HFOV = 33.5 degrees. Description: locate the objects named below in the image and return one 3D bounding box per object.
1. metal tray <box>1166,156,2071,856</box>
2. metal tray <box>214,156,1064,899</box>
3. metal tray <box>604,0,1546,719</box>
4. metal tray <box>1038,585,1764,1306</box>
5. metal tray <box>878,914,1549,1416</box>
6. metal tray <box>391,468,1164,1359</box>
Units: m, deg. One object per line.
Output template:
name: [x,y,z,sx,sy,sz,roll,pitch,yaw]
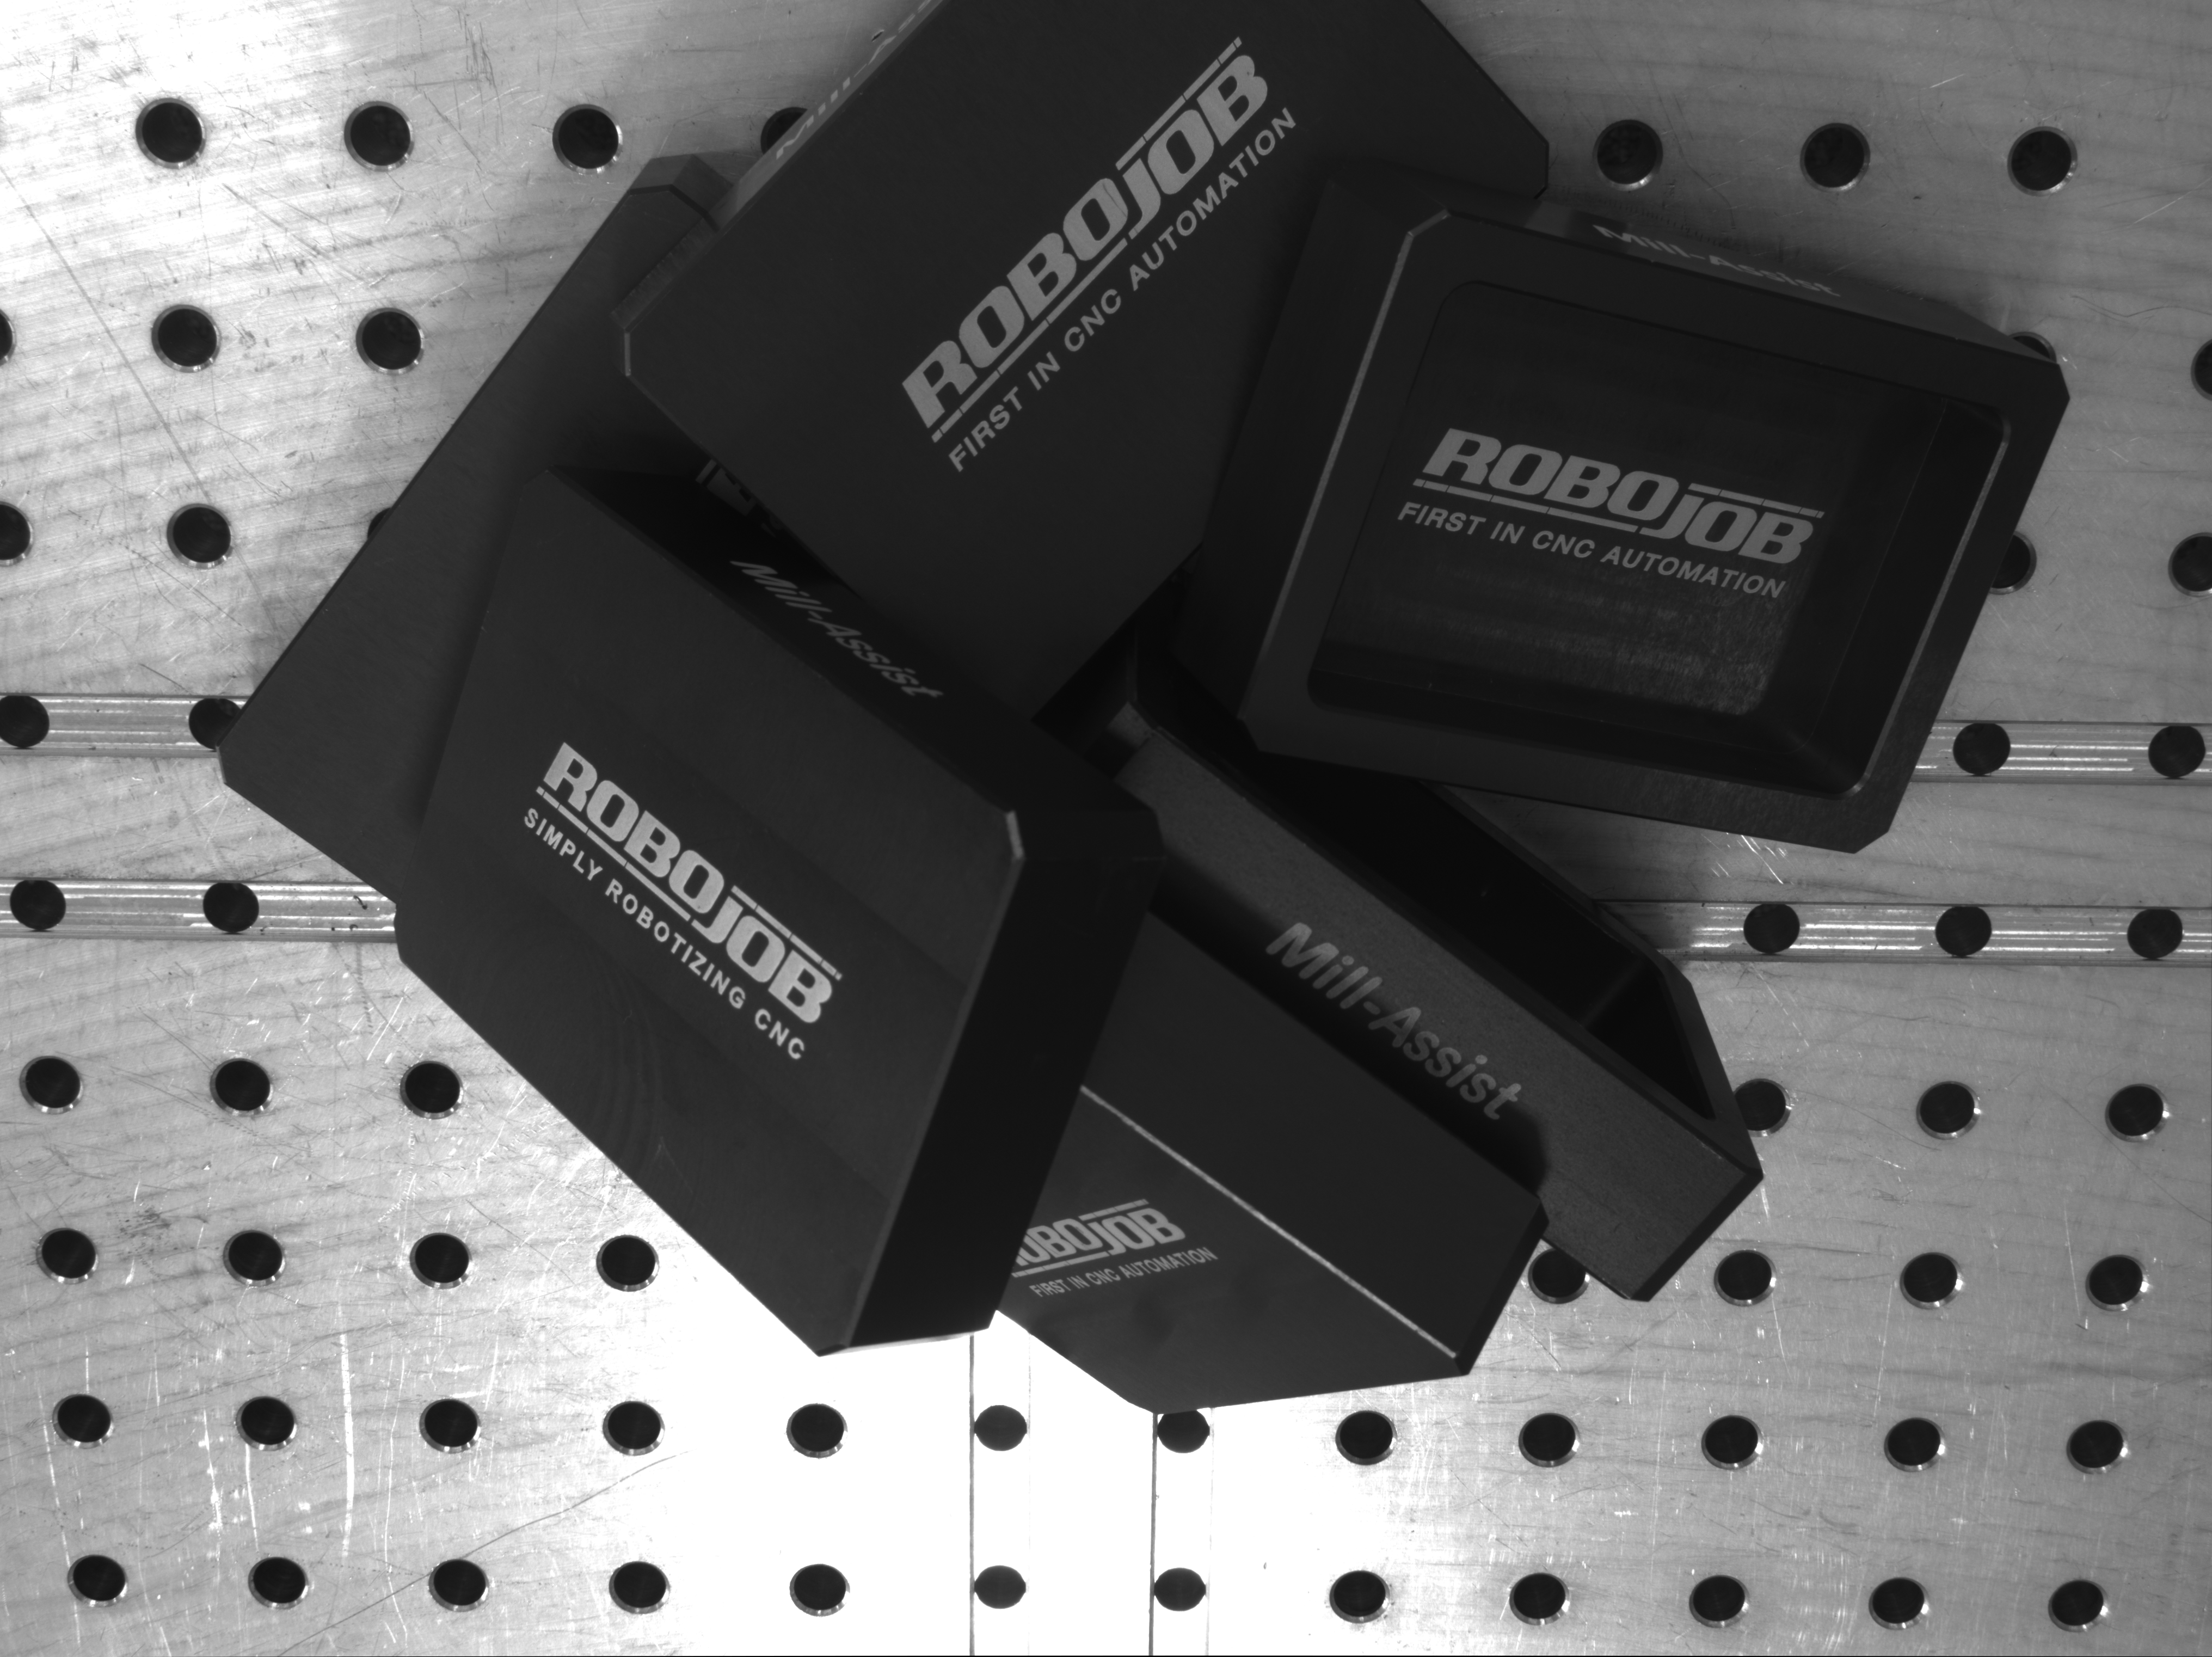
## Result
metal tray: [0.084,-0.050,0.600,0.130,0.030,0.090,9,112,-27]
metal tray: [-0.079,-0.037,0.630,0.090,0.030,0.130,37,106,-13]
metal tray: [-0.005,-0.093,0.590,0.130,0.030,0.090,-46,108,0]
metal tray: [0.046,0.016,0.617,0.130,0.090,0.030,37,106,-12]
metal tray: [0.005,0.059,0.617,0.090,0.130,0.030,37,67,-12]
metal tray: [-0.055,0.010,0.570,0.030,0.130,0.090,0,117,-45]
